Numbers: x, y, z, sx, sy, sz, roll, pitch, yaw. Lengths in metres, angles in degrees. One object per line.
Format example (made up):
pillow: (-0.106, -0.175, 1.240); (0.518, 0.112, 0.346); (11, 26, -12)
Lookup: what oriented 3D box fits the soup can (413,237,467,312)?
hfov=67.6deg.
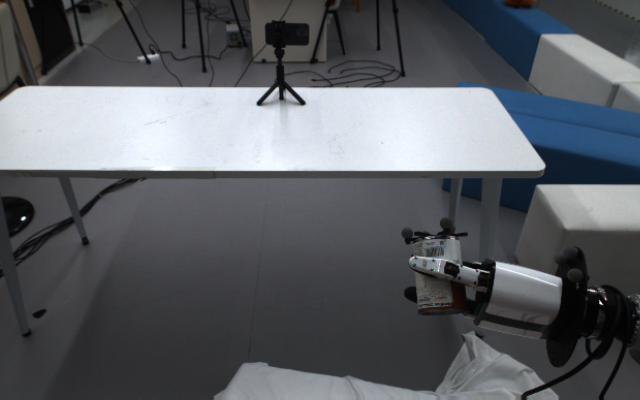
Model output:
soup can: (0.168, 0.105, 0.672); (0.067, 0.067, 0.101); (-1, 72, -4)
